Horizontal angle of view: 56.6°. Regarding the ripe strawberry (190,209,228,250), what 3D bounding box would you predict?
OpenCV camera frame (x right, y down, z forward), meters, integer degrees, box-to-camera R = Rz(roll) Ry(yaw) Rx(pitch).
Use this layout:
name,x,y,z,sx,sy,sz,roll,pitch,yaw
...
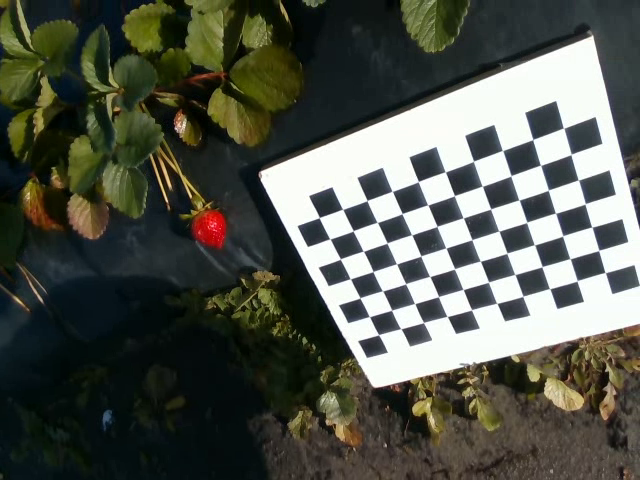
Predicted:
name,x,y,z,sx,sy,sz,roll,pitch,yaw
ripe strawberry,-0.100,-0.007,0.552,0.040,0.044,0.037,-38,4,27
